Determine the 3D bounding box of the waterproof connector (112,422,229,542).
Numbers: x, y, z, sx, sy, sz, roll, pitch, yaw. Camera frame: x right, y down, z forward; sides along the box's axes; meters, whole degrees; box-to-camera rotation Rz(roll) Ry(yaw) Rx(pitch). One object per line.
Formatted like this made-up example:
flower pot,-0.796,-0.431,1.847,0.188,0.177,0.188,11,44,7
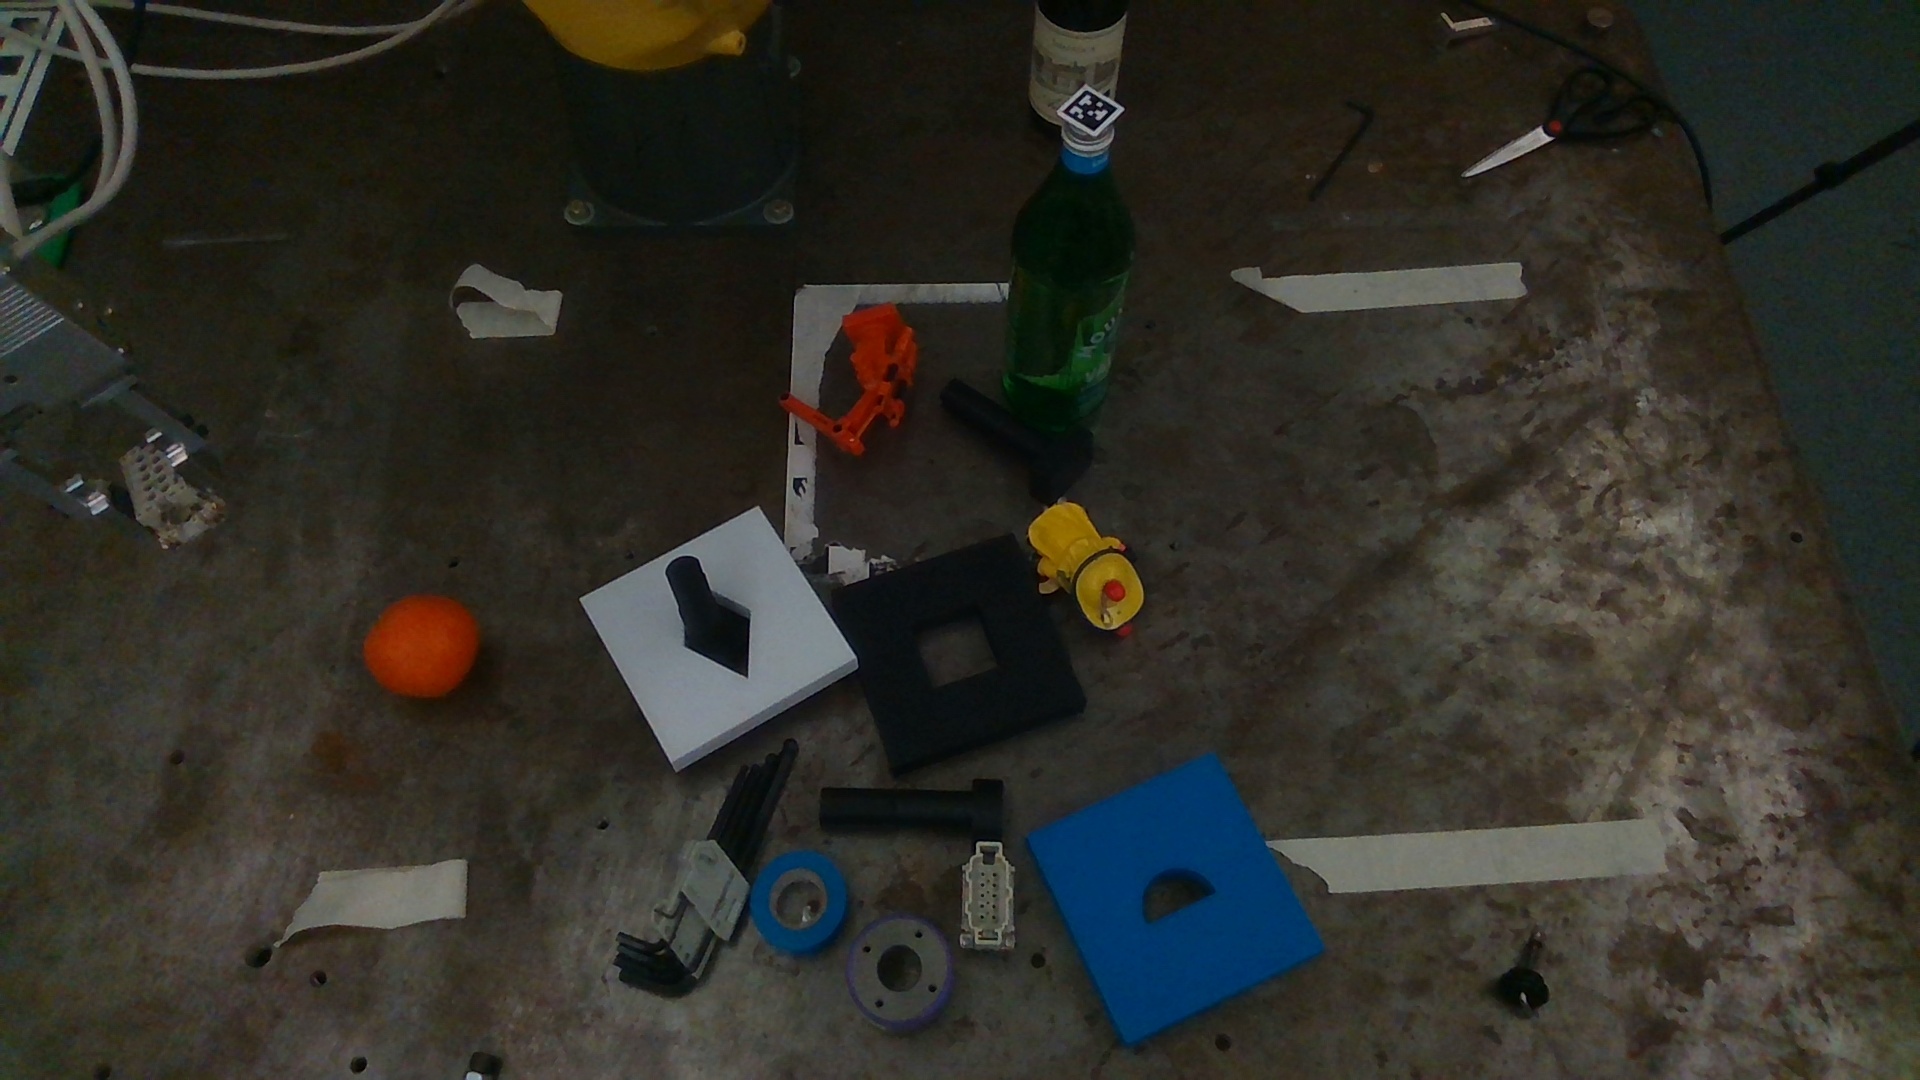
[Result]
waterproof connector,-0.431,-0.032,0.759,0.036,0.038,0.069,-33,69,-7
